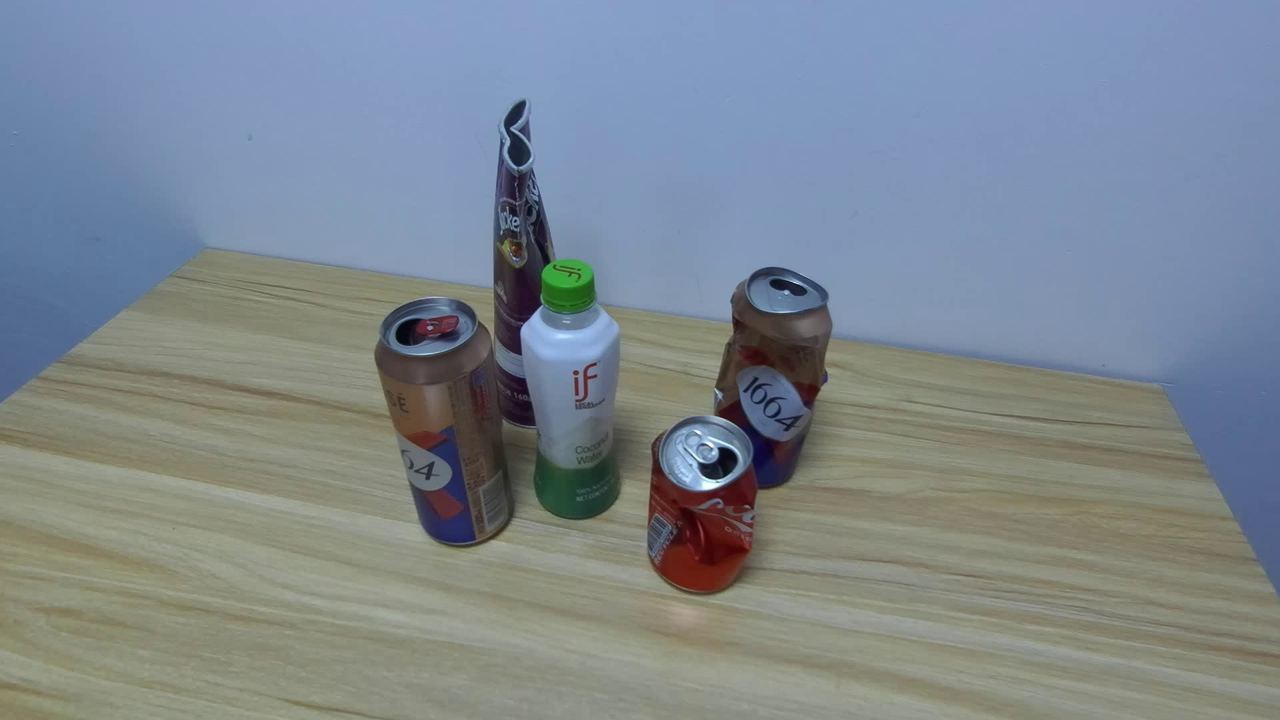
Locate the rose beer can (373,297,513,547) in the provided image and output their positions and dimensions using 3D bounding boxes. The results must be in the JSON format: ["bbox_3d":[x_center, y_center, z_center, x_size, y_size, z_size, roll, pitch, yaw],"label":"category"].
[{"bbox_3d":[-0.122,0.046,0.457,0.068,0.169,0.068,0,40,0],"label":"rose beer can"}]

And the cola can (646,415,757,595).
[{"bbox_3d":[0.038,0.092,0.450,0.065,0.112,0.069,-2,40,-4],"label":"cola can"}]

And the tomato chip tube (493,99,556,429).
[{"bbox_3d":[-0.082,-0.058,0.526,0.077,0.236,0.090,26,44,25],"label":"tomato chip tube"}]

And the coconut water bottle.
[{"bbox_3d":[-0.044,0.023,0.467,0.063,0.189,0.063,1,40,0],"label":"coconut water bottle"}]

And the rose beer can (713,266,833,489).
[{"bbox_3d":[0.091,0.016,0.502,0.073,0.162,0.068,11,40,9],"label":"rose beer can"}]
